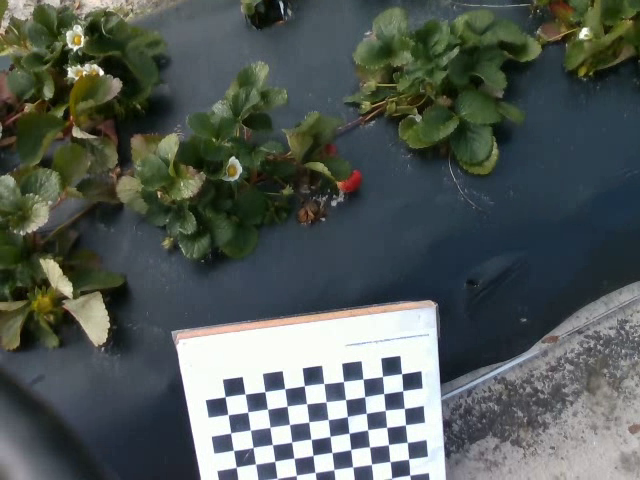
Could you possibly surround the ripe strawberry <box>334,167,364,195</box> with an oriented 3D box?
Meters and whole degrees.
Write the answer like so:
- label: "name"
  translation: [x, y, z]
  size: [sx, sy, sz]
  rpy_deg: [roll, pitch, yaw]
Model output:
- label: "ripe strawberry"
  translation: [0.022, -0.050, 0.497]
  size: [0.027, 0.022, 0.021]
  rpy_deg: [-29, 27, 14]
